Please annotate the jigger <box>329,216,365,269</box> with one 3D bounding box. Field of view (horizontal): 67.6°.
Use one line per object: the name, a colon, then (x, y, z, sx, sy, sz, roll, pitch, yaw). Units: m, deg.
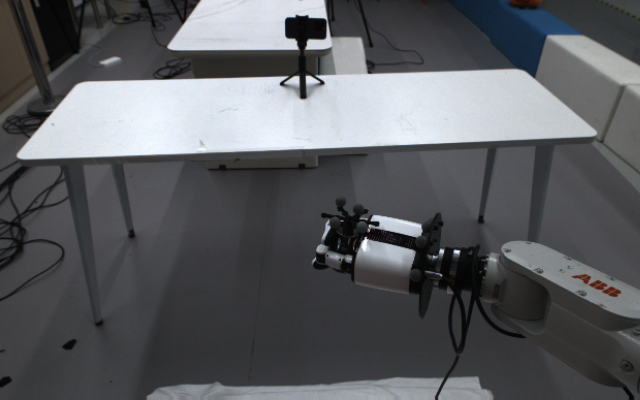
jigger: (0.043, 0.074, 0.756, 0.043, 0.071, 0.043, 6, 26, -3)
